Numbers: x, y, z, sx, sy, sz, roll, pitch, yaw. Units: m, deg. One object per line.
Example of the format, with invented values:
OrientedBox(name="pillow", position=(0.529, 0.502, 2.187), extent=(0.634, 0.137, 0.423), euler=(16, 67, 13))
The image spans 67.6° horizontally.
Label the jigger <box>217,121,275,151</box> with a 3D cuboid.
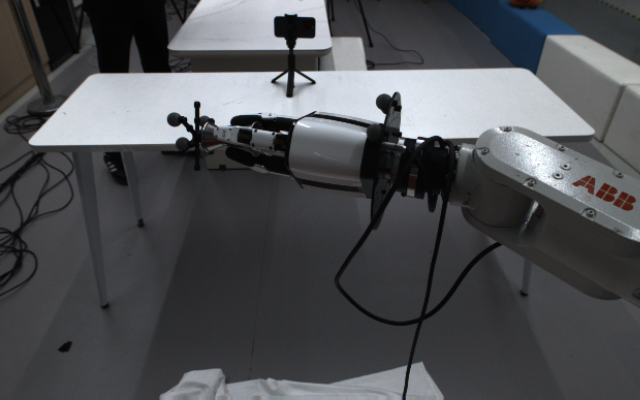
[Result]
OrientedBox(name="jigger", position=(-0.103, -0.082, 0.614), extent=(0.071, 0.043, 0.043), euler=(4, 34, 16))
